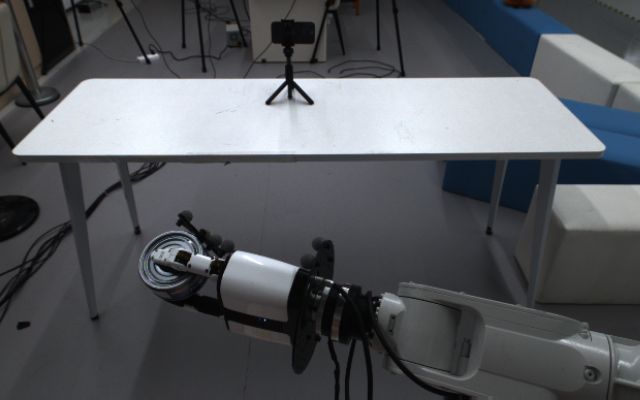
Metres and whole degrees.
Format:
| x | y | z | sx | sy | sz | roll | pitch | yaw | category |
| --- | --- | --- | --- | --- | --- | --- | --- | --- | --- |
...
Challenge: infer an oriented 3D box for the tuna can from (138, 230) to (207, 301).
| x | y | z | sx | sy | sz | roll | pitch | yaw | category |
| --- | --- | --- | --- | --- | --- | --- | --- | --- | --- |
| -0.183 | 0.083 | 0.618 | 0.085 | 0.034 | 0.085 | -4 | 58 | 6 | tuna can |
